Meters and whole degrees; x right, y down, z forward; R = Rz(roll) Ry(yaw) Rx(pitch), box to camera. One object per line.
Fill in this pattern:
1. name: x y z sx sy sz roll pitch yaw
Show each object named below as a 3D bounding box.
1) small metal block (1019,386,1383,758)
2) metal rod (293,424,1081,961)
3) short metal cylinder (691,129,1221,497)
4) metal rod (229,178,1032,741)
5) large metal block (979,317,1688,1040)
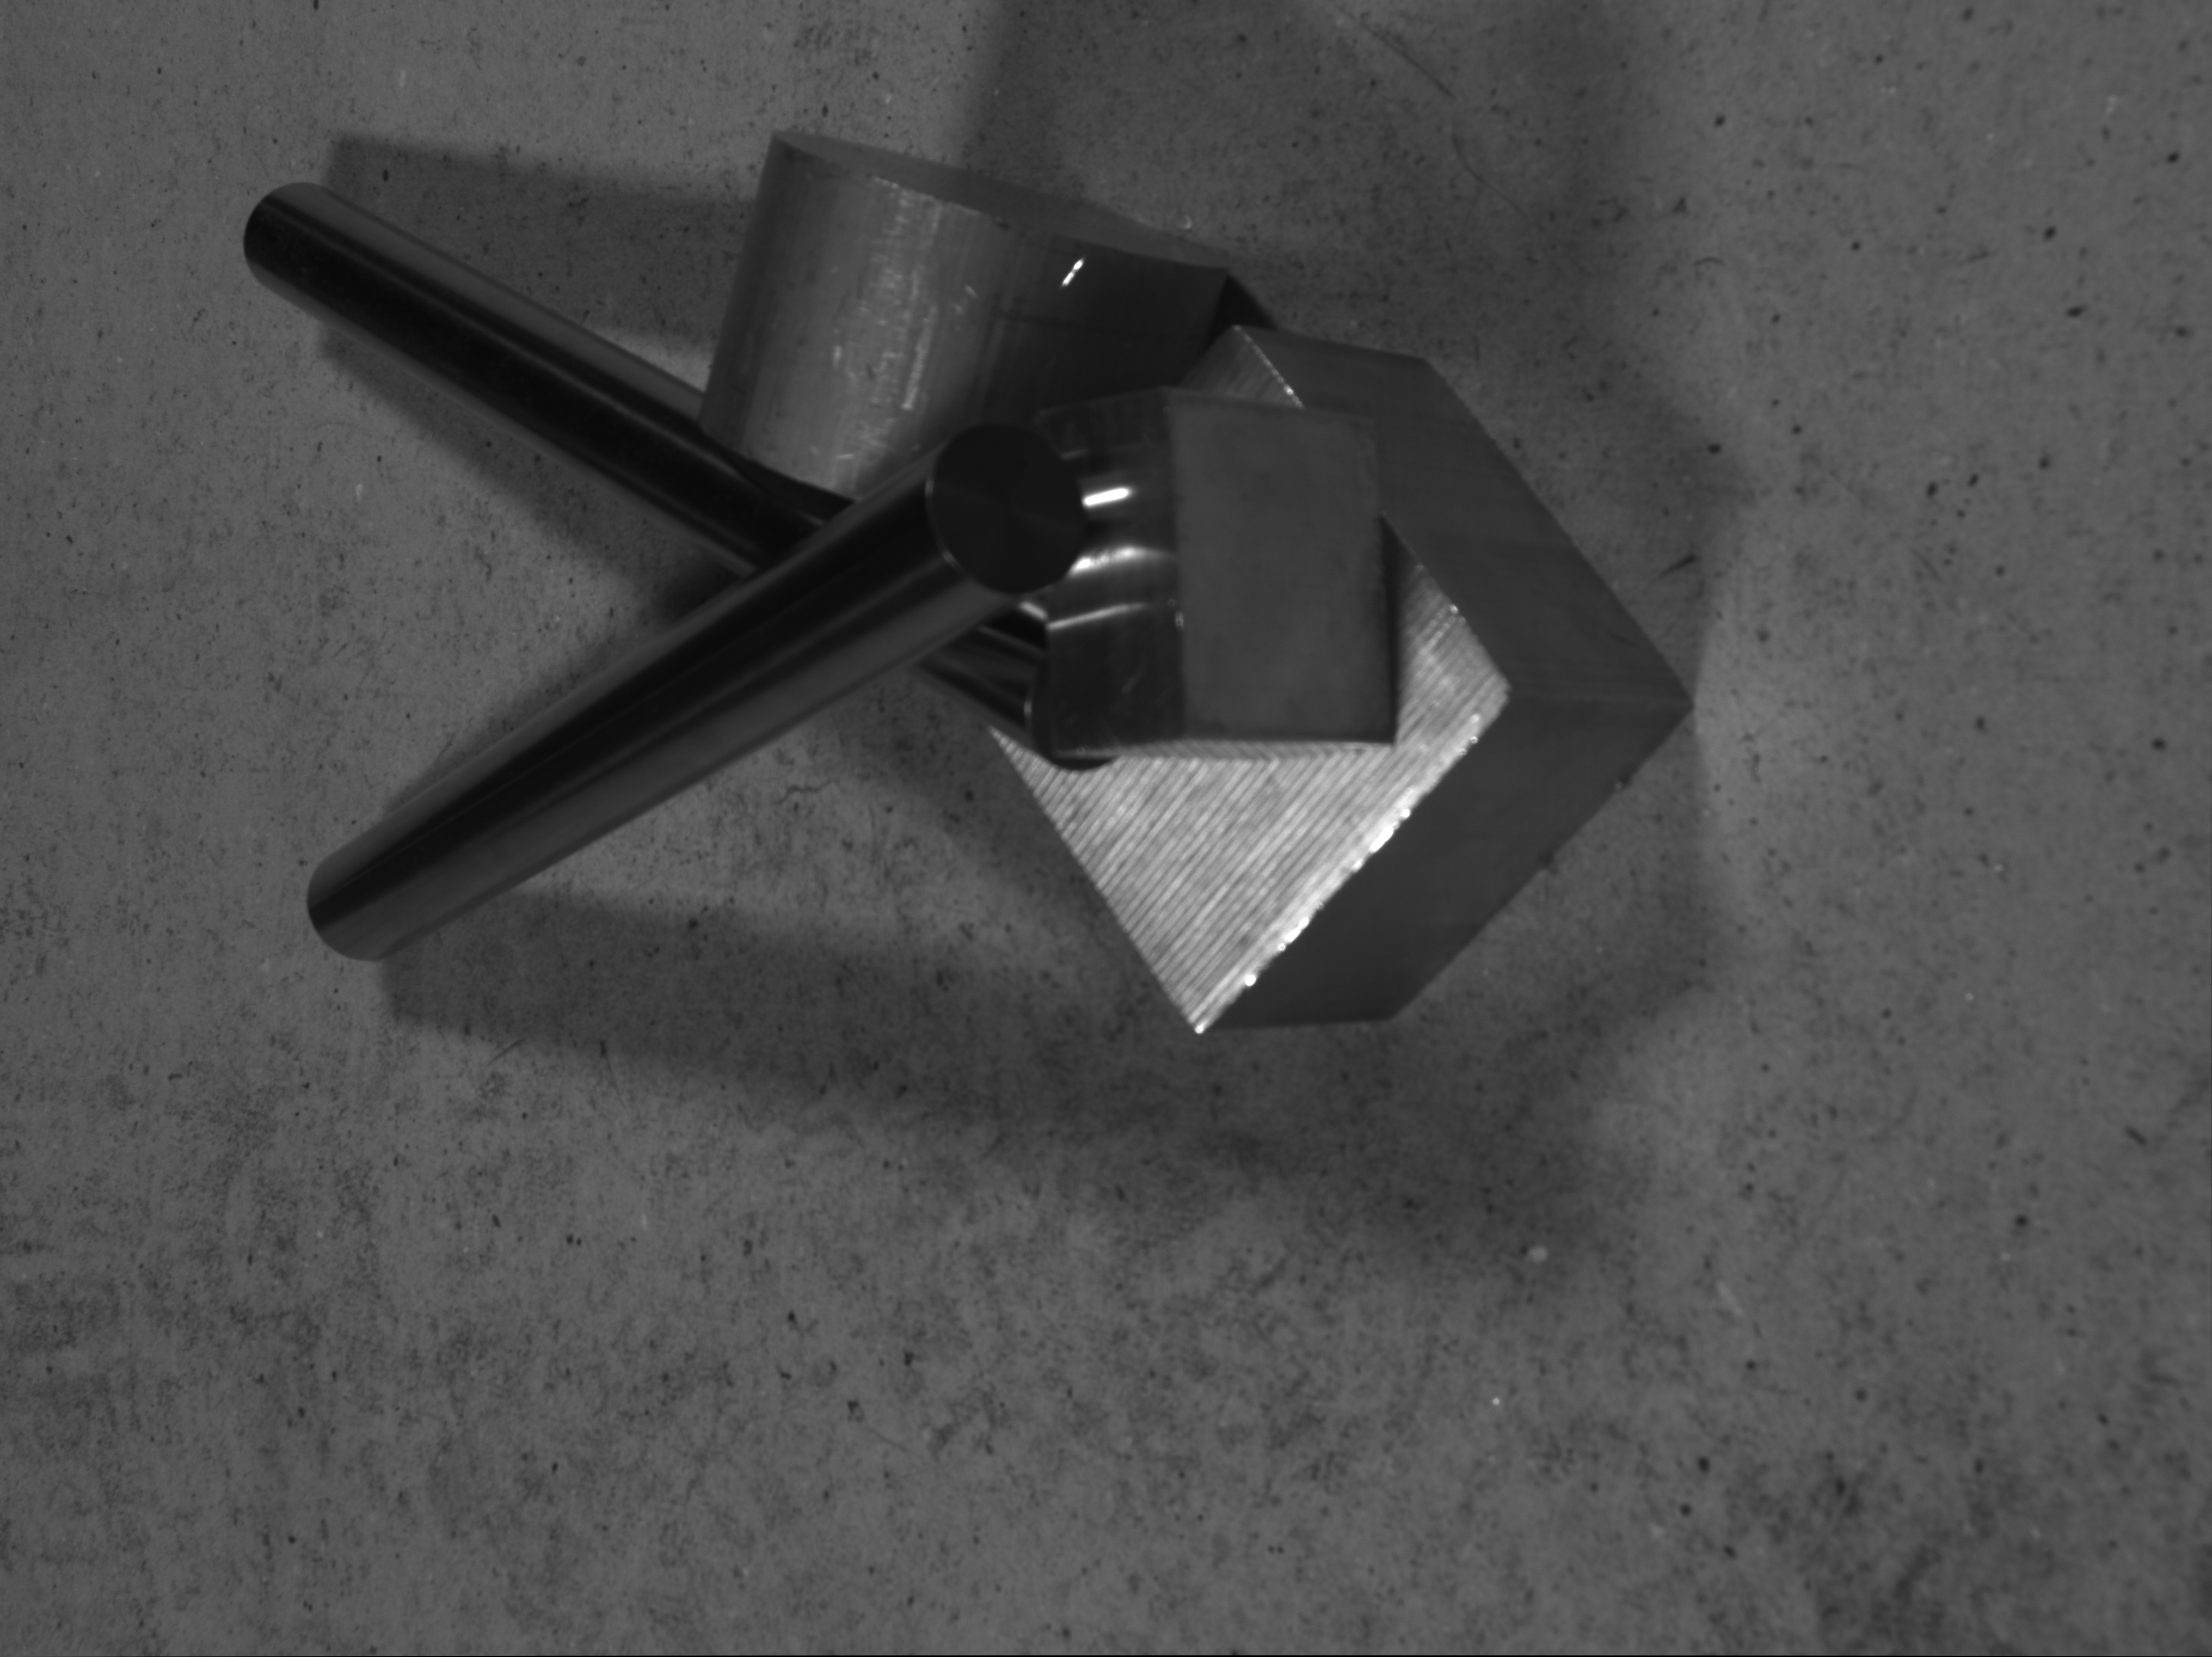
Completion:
1. small metal block: 0.014 -0.036 0.540 0.025 0.050 0.050 -6 87 40
2. metal rod: -0.086 -0.014 0.638 0.299 0.025 0.025 -23 75 59
3. short metal cylinder: -0.025 -0.083 0.624 0.080 0.080 0.050 26 106 36
4. metal rod: -0.089 -0.074 0.673 0.299 0.025 0.025 31 109 47
5. large metal block: 0.032 -0.023 0.592 0.080 0.050 0.080 -49 61 29
